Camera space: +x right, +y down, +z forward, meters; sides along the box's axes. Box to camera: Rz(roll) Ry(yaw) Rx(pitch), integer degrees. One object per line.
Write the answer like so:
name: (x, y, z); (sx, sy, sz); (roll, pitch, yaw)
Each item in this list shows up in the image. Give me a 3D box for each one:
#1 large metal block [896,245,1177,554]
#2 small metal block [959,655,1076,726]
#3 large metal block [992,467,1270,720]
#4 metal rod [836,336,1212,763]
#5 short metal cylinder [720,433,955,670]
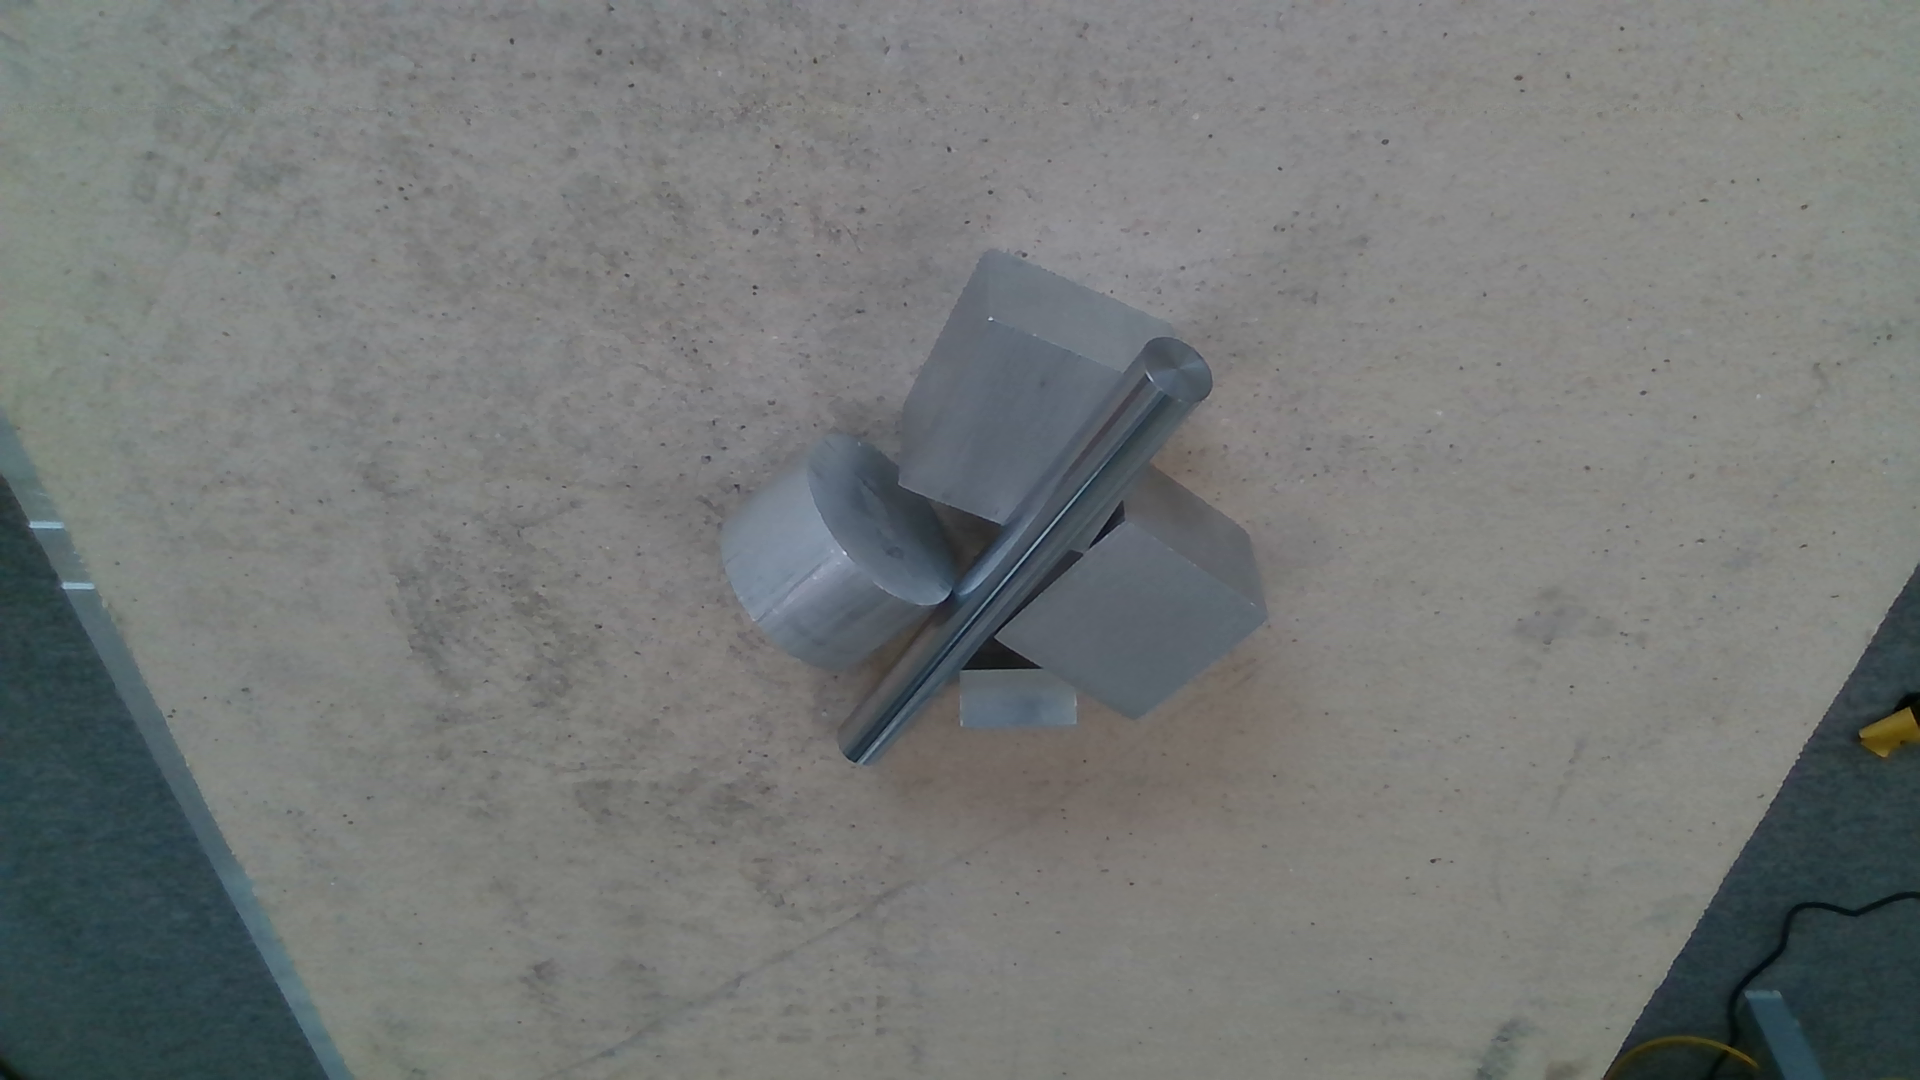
large metal block: (0.029, -0.051, 0.520); (0.080, 0.050, 0.080); (20, 127, -16)
small metal block: (0.025, 0.065, 0.616); (0.050, 0.050, 0.025); (-1, 94, 1)
large metal block: (0.068, 0.018, 0.576); (0.080, 0.050, 0.080); (32, 123, -24)
metal rod: (0.010, 0.021, 0.544); (0.025, 0.025, 0.301); (18, 144, -15)
short metal cylinder: (-0.048, 0.005, 0.547); (0.050, 0.080, 0.080); (-37, 121, 27)
